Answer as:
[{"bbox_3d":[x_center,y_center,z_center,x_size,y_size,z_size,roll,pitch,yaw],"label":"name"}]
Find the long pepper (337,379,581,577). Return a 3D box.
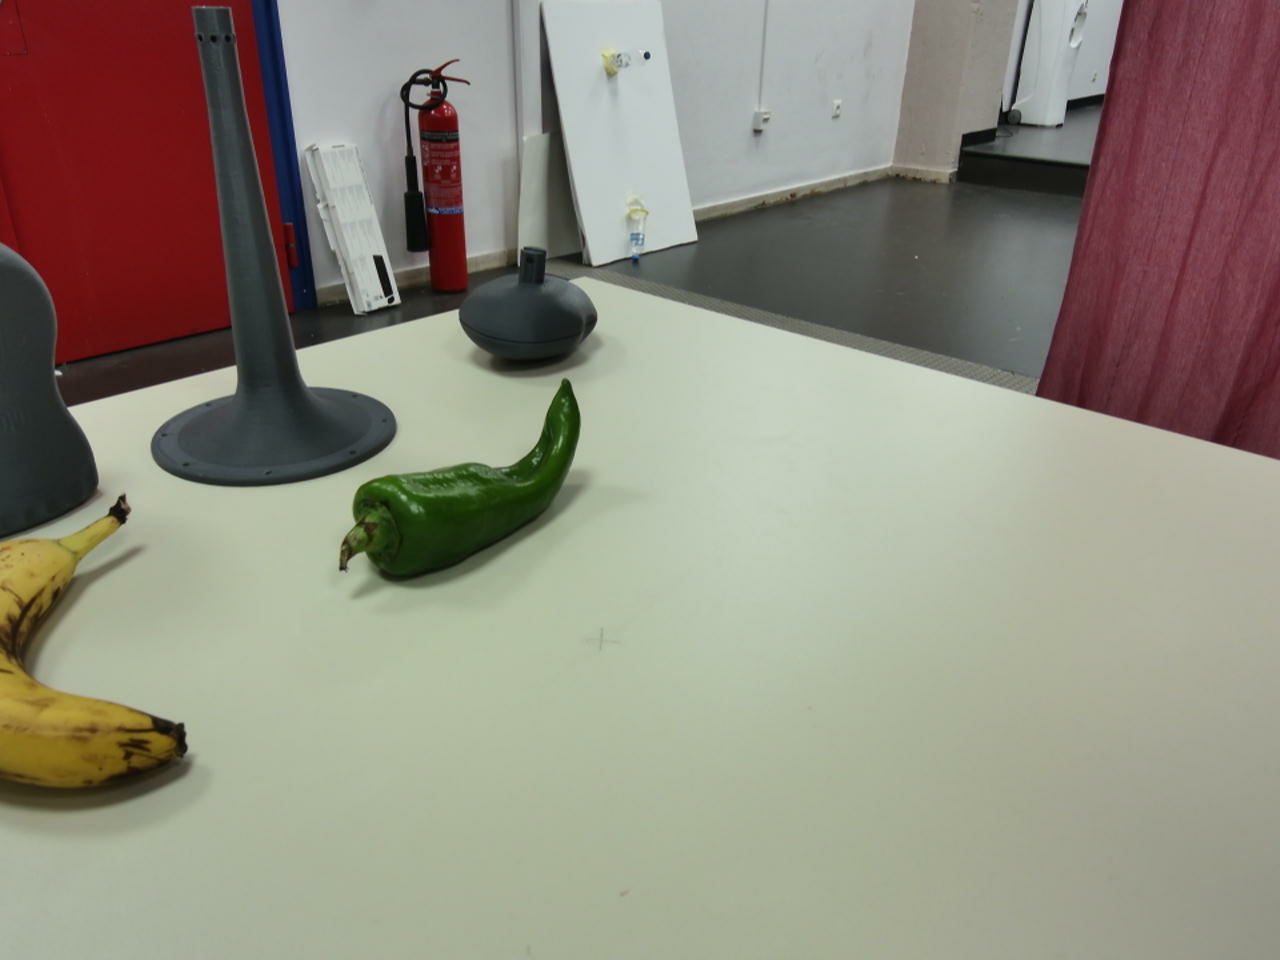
[{"bbox_3d":[-0.086,0.000,0.524,0.058,0.065,0.175,19,31,35],"label":"long pepper"}]
